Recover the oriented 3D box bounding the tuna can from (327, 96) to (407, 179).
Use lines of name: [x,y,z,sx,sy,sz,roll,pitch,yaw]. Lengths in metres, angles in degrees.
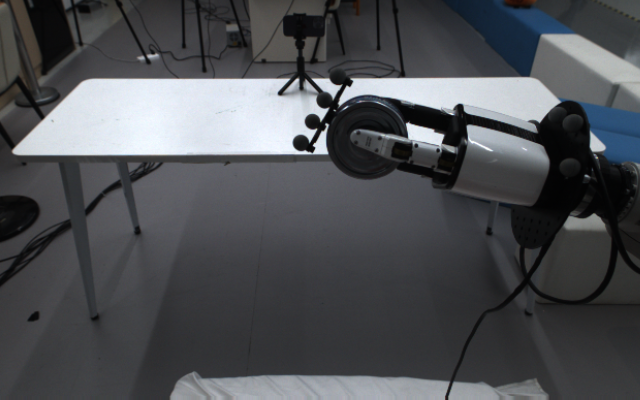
tuna can: [0.053,-0.068,0.515,0.085,0.085,0.034,3,20,1]
